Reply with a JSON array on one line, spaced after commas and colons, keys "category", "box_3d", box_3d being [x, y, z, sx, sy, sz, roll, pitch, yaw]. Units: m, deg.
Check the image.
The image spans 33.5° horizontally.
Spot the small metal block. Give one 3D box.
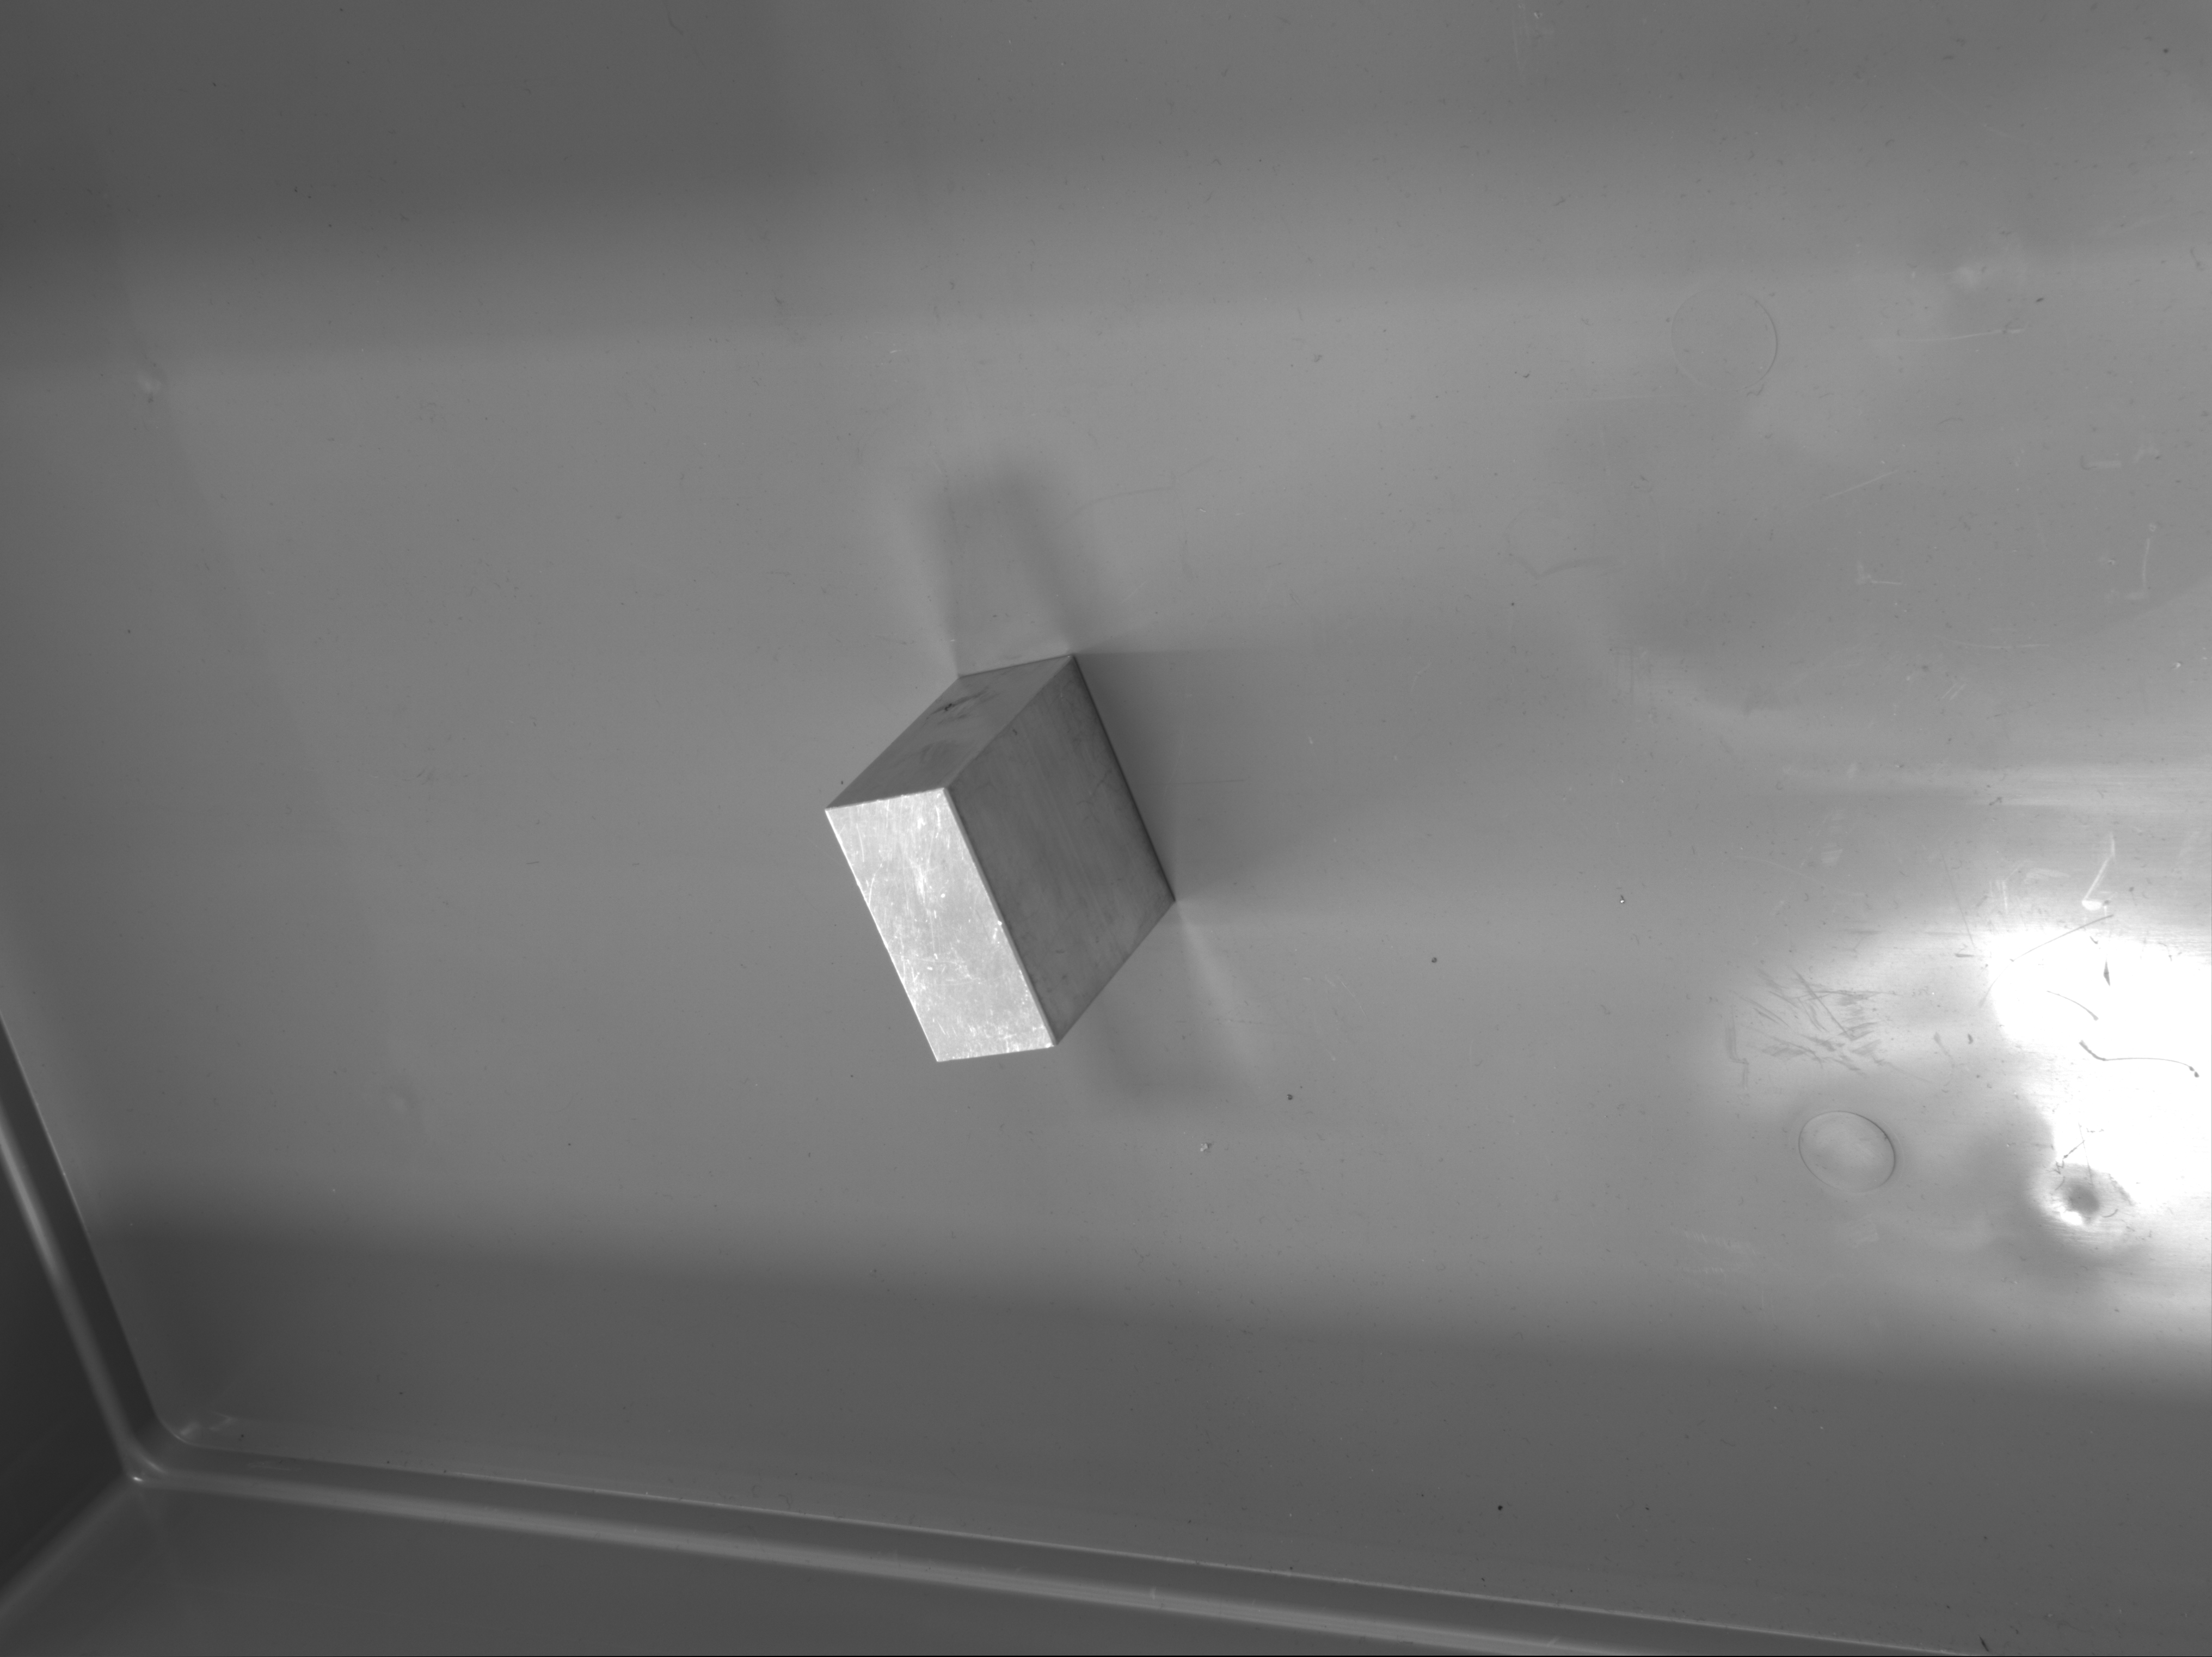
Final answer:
[{"category": "small metal block", "box_3d": [-0.017, 0.005, 0.636, 0.025, 0.050, 0.050, -9, 113, 32]}]
